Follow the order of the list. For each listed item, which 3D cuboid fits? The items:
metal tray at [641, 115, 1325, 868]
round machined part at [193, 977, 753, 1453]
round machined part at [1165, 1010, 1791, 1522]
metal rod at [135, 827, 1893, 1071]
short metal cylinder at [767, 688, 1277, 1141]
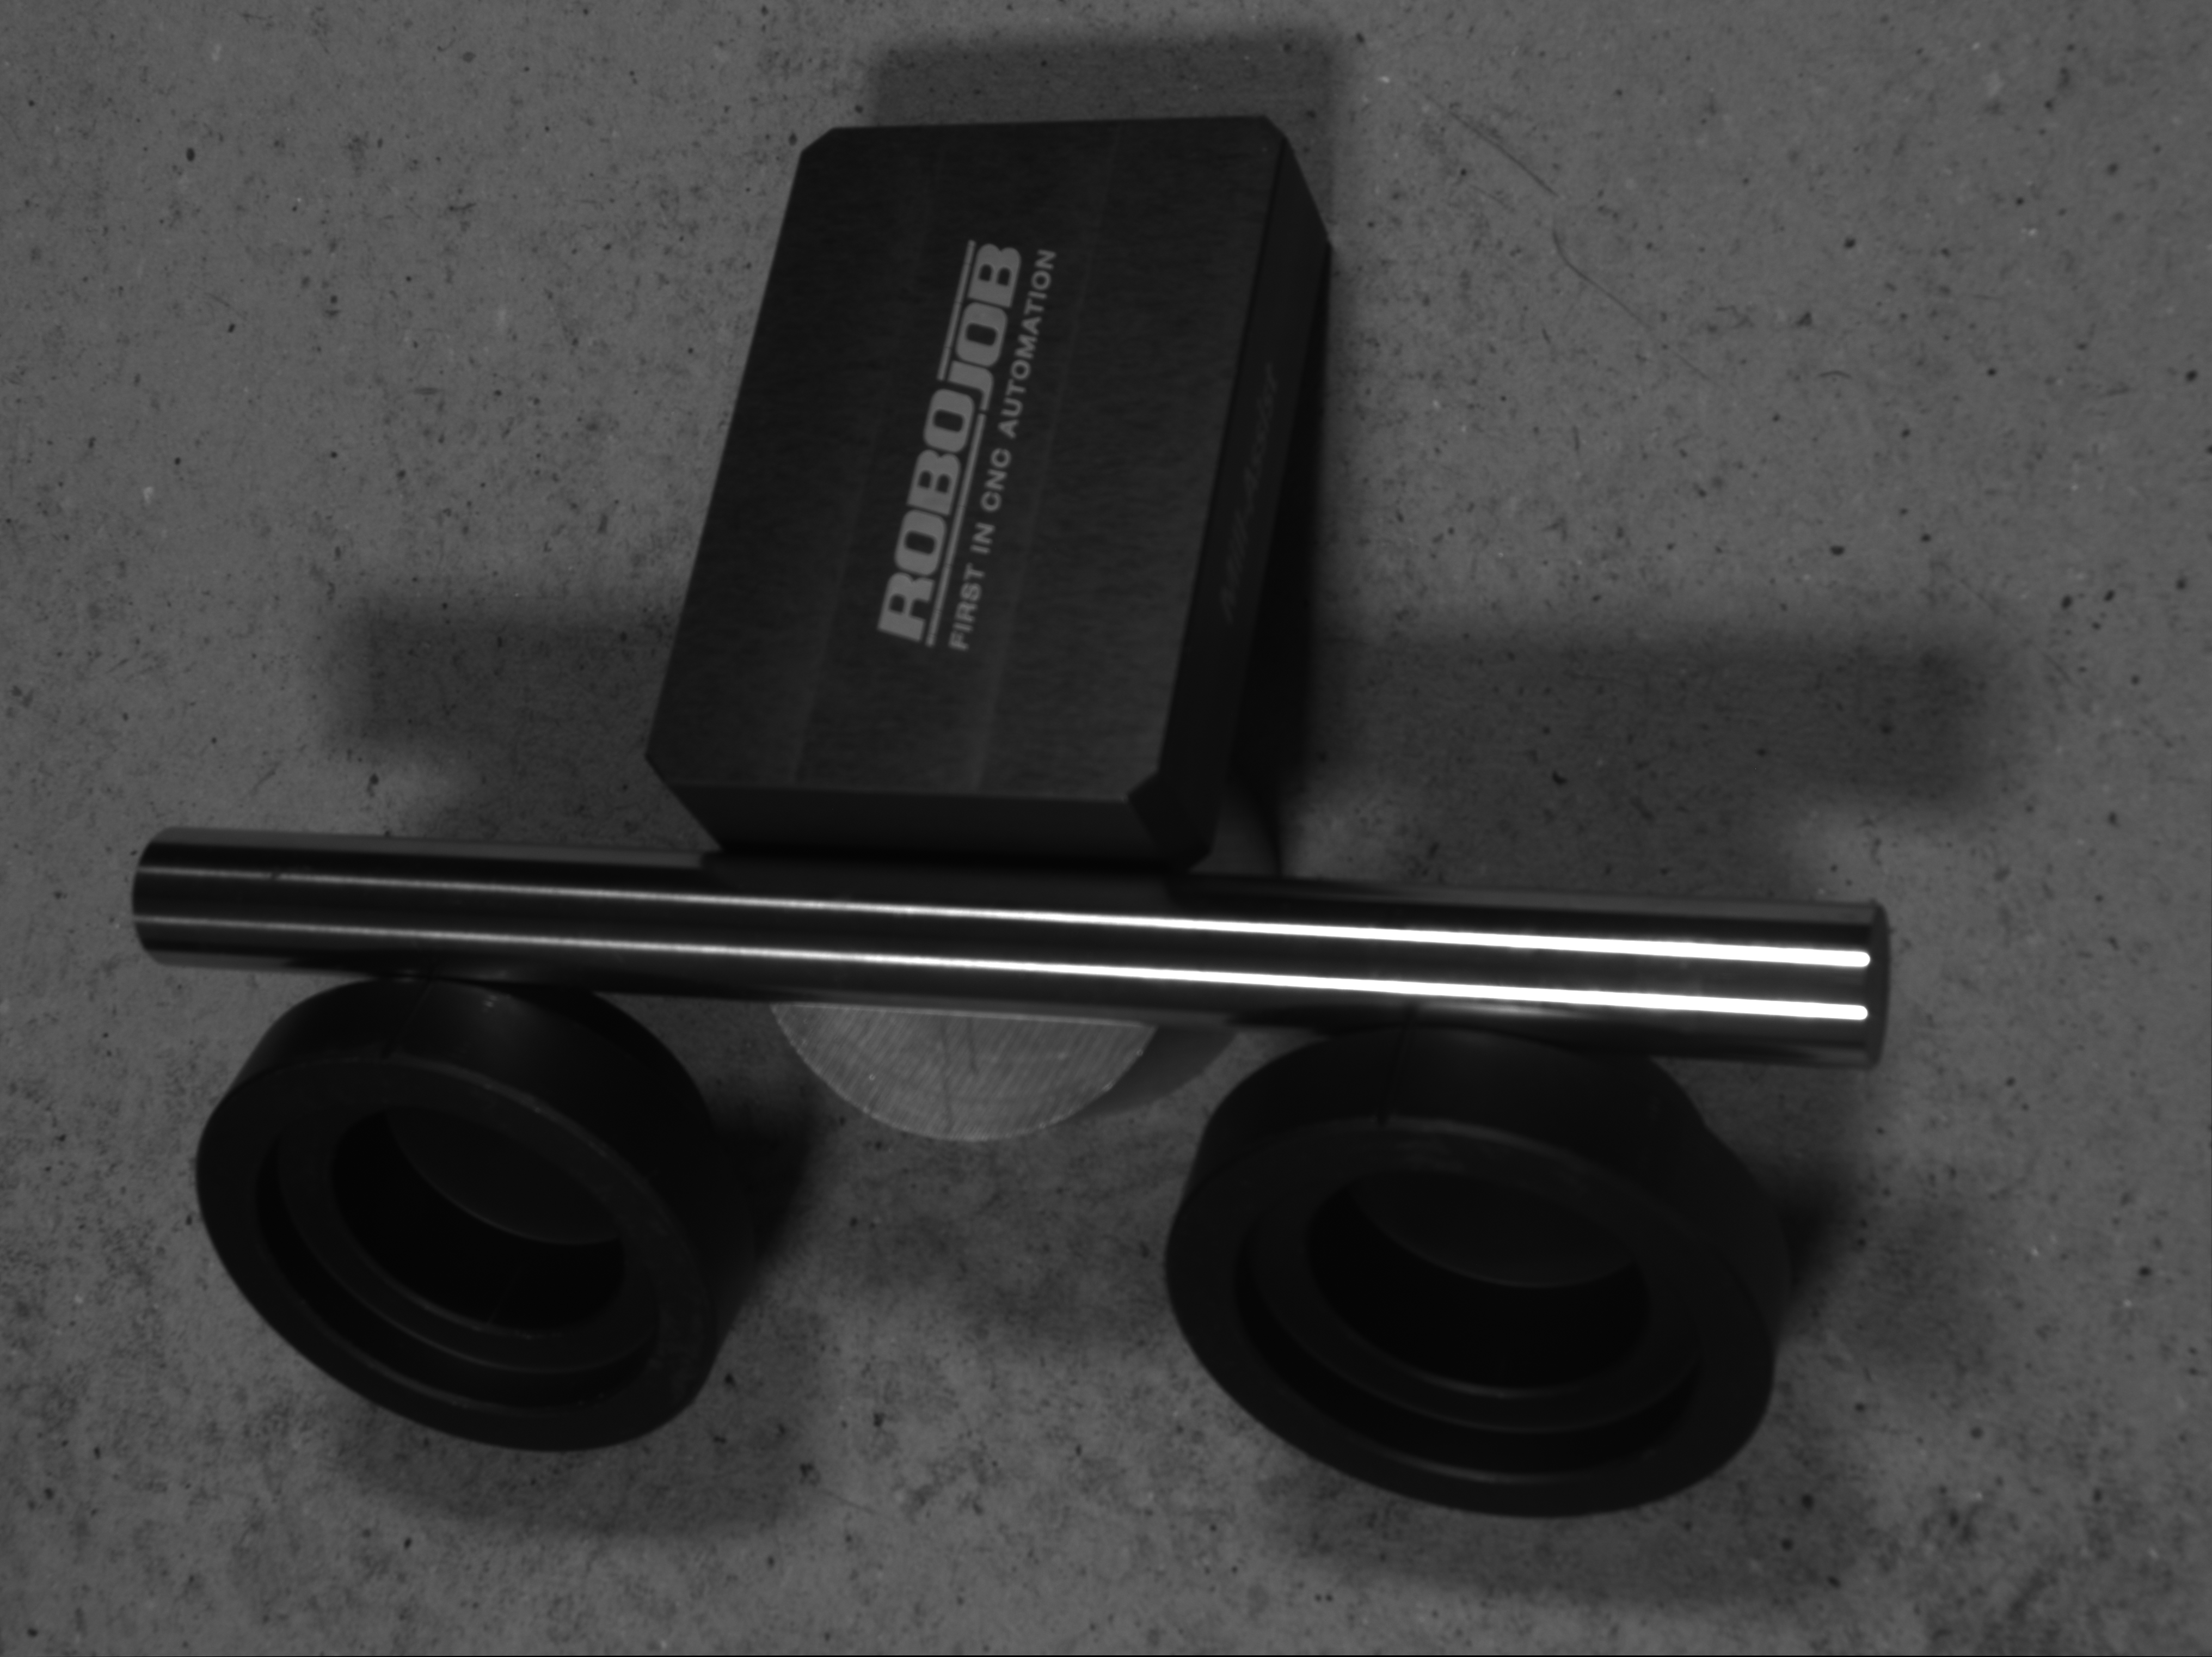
[{"bbox_3d":[-0.019,-0.058,0.620,0.090,0.030,0.130,2,65,20],"label":"metal tray"},{"bbox_3d":[-0.109,0.063,0.657,0.098,0.042,0.098,9,131,11],"label":"round machined part"},{"bbox_3d":[0.062,0.066,0.595,0.098,0.042,0.098,10,135,11],"label":"round machined part"},{"bbox_3d":[-0.024,0.018,0.601,0.299,0.025,0.025,2,91,20],"label":"metal rod"},{"bbox_3d":[-0.016,0.013,0.637,0.080,0.050,0.080,0,90,20],"label":"short metal cylinder"}]
